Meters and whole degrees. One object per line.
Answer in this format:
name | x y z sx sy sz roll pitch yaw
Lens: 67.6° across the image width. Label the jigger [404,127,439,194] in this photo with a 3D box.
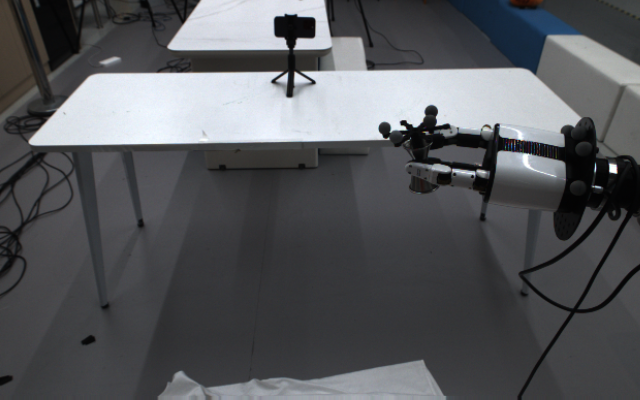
jigger | 0.140 -0.049 0.668 0.043 0.071 0.043 -12 29 7
